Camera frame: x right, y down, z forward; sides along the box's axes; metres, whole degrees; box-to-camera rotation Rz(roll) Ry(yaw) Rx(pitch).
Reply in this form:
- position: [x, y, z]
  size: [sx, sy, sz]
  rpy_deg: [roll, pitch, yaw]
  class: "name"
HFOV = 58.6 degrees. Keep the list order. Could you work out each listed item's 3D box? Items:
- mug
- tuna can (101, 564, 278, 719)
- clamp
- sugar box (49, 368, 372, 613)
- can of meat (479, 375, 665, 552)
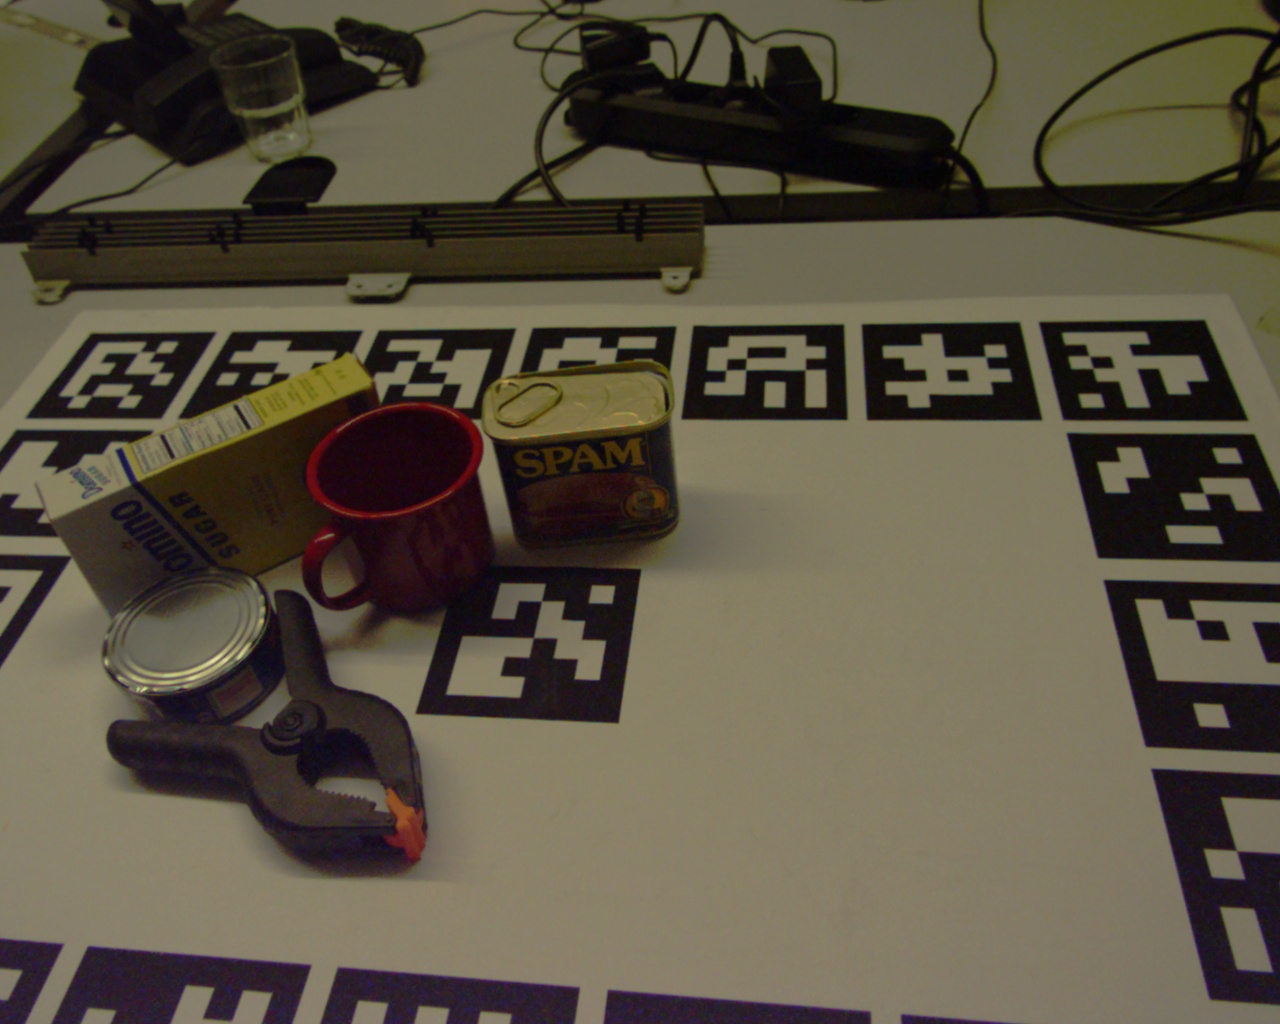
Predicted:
- position: [-0.141, 0.003, 0.632]
  size: [0.094, 0.081, 0.116]
  rpy_deg: [21, 53, 24]
  class: "mug"
- position: [-0.241, 0.071, 0.614]
  size: [0.086, 0.033, 0.086]
  rpy_deg: [-4, 47, 4]
  class: "tuna can"
- position: [-0.169, 0.116, 0.568]
  size: [0.167, 0.036, 0.121]
  rpy_deg: [32, 53, 27]
  class: "clamp"
- position: [-0.231, -0.007, 0.658]
  size: [0.175, 0.092, 0.046]
  rpy_deg: [-26, 47, -20]
  class: "sugar box"
- position: [-0.036, -0.026, 0.657]
  size: [0.102, 0.083, 0.058]
  rpy_deg: [-4, 44, 1]
  class: "can of meat"
